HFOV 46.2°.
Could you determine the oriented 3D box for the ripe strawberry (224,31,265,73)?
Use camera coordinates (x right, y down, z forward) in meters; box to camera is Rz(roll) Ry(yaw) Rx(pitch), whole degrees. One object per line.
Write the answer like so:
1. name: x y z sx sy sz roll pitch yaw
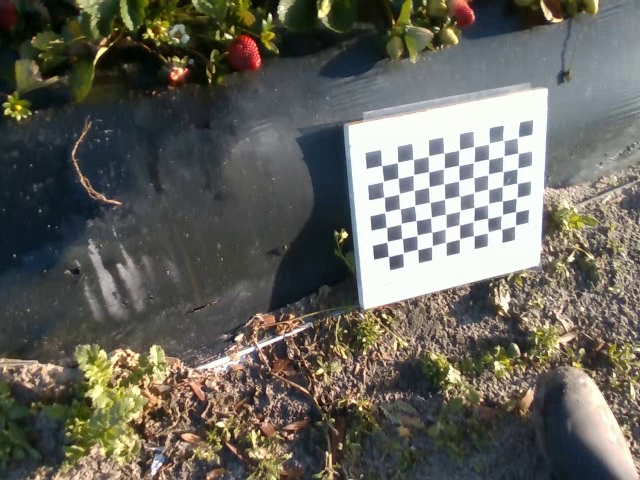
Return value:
1. ripe strawberry: -0.094 -0.229 0.907 0.052 0.052 0.041 48 -2 29
